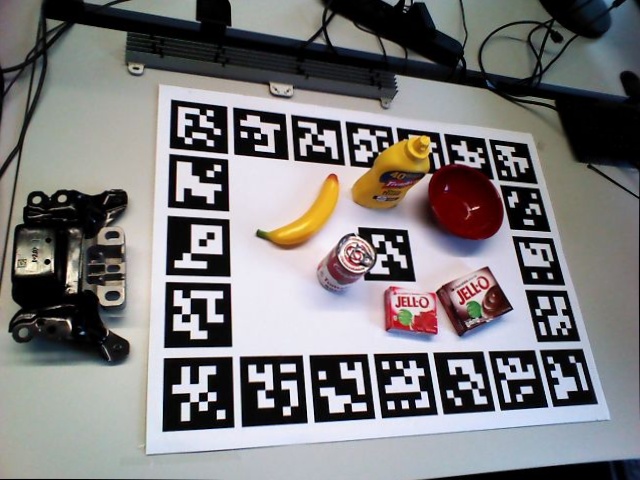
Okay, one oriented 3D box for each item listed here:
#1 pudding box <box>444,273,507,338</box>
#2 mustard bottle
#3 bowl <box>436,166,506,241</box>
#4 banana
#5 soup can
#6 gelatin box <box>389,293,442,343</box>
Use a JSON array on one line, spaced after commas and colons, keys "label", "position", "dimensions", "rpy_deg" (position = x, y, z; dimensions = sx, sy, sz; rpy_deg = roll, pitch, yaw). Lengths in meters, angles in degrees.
[{"label": "pudding box", "position": [0.290, 0.113, 0.929], "dimensions": [0.113, 0.039, 0.090], "rpy_deg": [-21, 81, -26]}, {"label": "mustard bottle", "position": [0.149, -0.120, 0.879], "dimensions": [0.096, 0.193, 0.058], "rpy_deg": [4, 63, -19]}, {"label": "bowl", "position": [0.285, -0.062, 0.998], "dimensions": [0.161, 0.055, 0.161], "rpy_deg": [7, 65, -15]}, {"label": "banana", "position": [-0.015, -0.057, 0.894], "dimensions": [0.074, 0.039, 0.196], "rpy_deg": [37, 60, 10]}, {"label": "soup can", "position": [0.045, 0.033, 0.829], "dimensions": [0.068, 0.103, 0.067], "rpy_deg": [9, 63, -18]}, {"label": "gelatin box", "position": [0.162, 0.132, 0.879], "dimensions": [0.089, 0.030, 0.073], "rpy_deg": [10, 68, -15]}]
